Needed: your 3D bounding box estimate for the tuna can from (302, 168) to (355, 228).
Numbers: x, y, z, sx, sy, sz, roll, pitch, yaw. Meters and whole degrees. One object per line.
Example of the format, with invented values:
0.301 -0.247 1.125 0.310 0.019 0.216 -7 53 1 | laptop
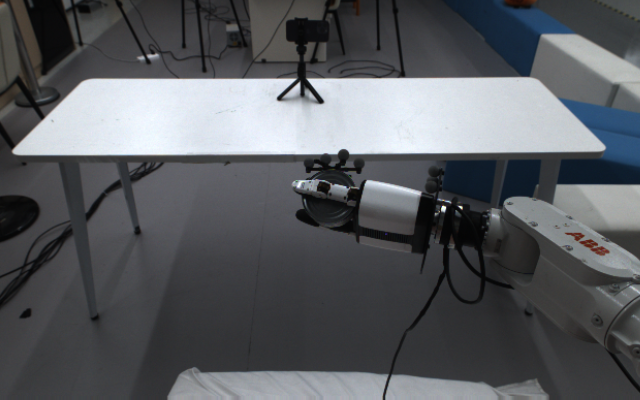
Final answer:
0.016 -0.005 0.740 0.085 0.034 0.085 -4 70 10 | tuna can
